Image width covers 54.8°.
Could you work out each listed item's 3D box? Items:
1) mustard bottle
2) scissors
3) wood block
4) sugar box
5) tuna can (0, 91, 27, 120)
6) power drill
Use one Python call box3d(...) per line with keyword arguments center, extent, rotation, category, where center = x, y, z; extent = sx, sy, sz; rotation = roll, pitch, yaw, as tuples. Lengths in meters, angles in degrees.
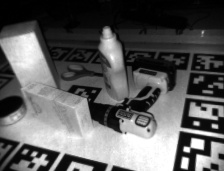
box3d(center=(0.000, -0.066, 0.560), extent=(0.058, 0.193, 0.095), rotation=(-22, 42, -9), category="mustard bottle")
box3d(center=(-0.095, -0.061, 0.700), extent=(0.201, 0.016, 0.088), rotation=(8, 40, 22), category="scissors")
box3d(center=(-0.217, -0.068, 0.604), extent=(0.091, 0.208, 0.089), rotation=(-14, 41, -1), category="wood block")
box3d(center=(-0.128, 0.046, 0.526), extent=(0.174, 0.093, 0.045), rotation=(17, 45, 27), category="sugar box")
box3d(center=(-0.280, 0.053, 0.592), extent=(0.085, 0.034, 0.085), rotation=(-6, 41, 6), category="tuna can")
box3d(center=(0.036, 0.016, 0.547), extent=(0.182, 0.058, 0.188), rotation=(17, 54, 30), category="power drill")
